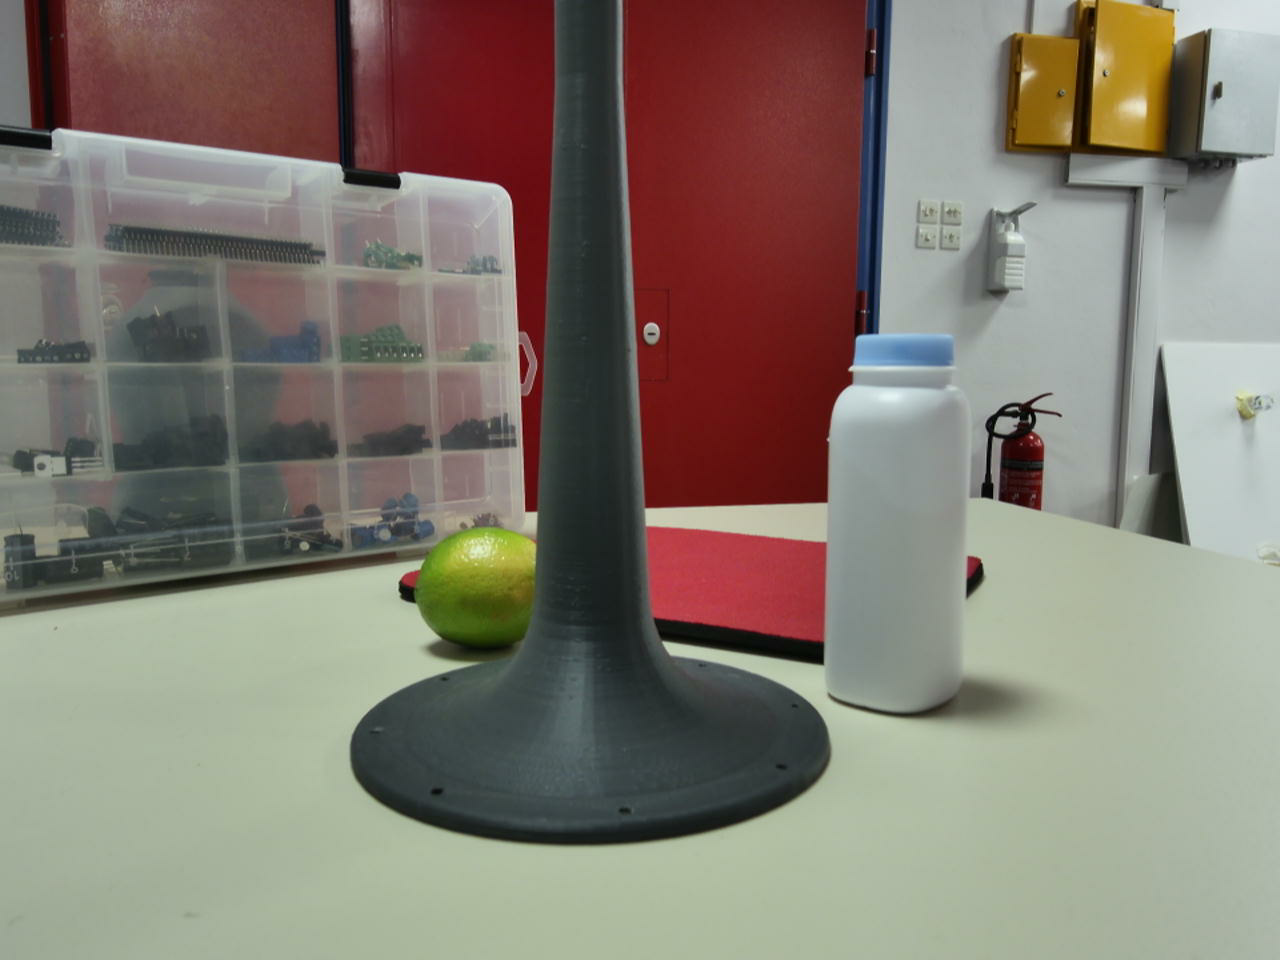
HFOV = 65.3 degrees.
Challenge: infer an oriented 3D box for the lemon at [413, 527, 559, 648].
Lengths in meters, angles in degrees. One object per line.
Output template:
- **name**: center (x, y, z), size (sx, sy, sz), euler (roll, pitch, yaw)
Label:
- **lemon**: center (-0.066, 0.045, 0.426), size (0.055, 0.050, 0.054), euler (2, 5, 37)
